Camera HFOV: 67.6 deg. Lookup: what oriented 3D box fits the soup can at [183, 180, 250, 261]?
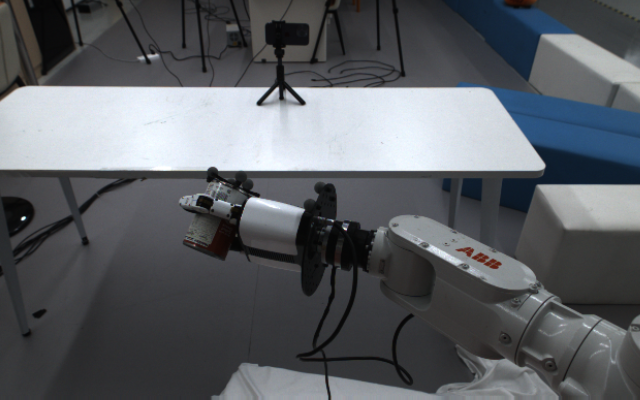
[{"bbox_3d":[-0.150,0.031,0.709,0.067,0.067,0.101,16,75,19],"label":"soup can"}]
